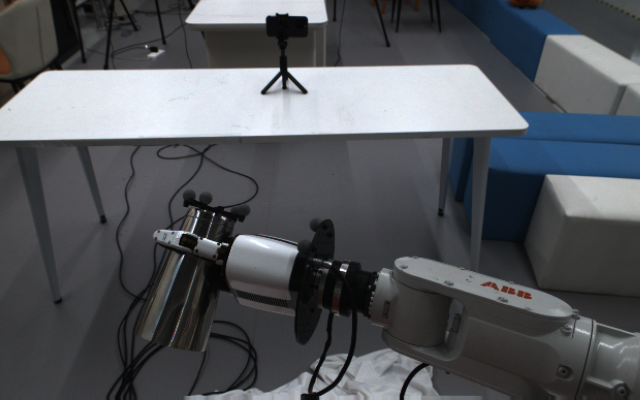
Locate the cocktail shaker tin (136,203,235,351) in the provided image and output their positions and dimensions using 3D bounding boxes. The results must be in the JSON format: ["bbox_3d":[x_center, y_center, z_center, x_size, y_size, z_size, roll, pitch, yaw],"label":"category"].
[{"bbox_3d":[-0.167,0.099,0.635,0.093,0.093,0.170,13,77,15],"label":"cocktail shaker tin"}]
